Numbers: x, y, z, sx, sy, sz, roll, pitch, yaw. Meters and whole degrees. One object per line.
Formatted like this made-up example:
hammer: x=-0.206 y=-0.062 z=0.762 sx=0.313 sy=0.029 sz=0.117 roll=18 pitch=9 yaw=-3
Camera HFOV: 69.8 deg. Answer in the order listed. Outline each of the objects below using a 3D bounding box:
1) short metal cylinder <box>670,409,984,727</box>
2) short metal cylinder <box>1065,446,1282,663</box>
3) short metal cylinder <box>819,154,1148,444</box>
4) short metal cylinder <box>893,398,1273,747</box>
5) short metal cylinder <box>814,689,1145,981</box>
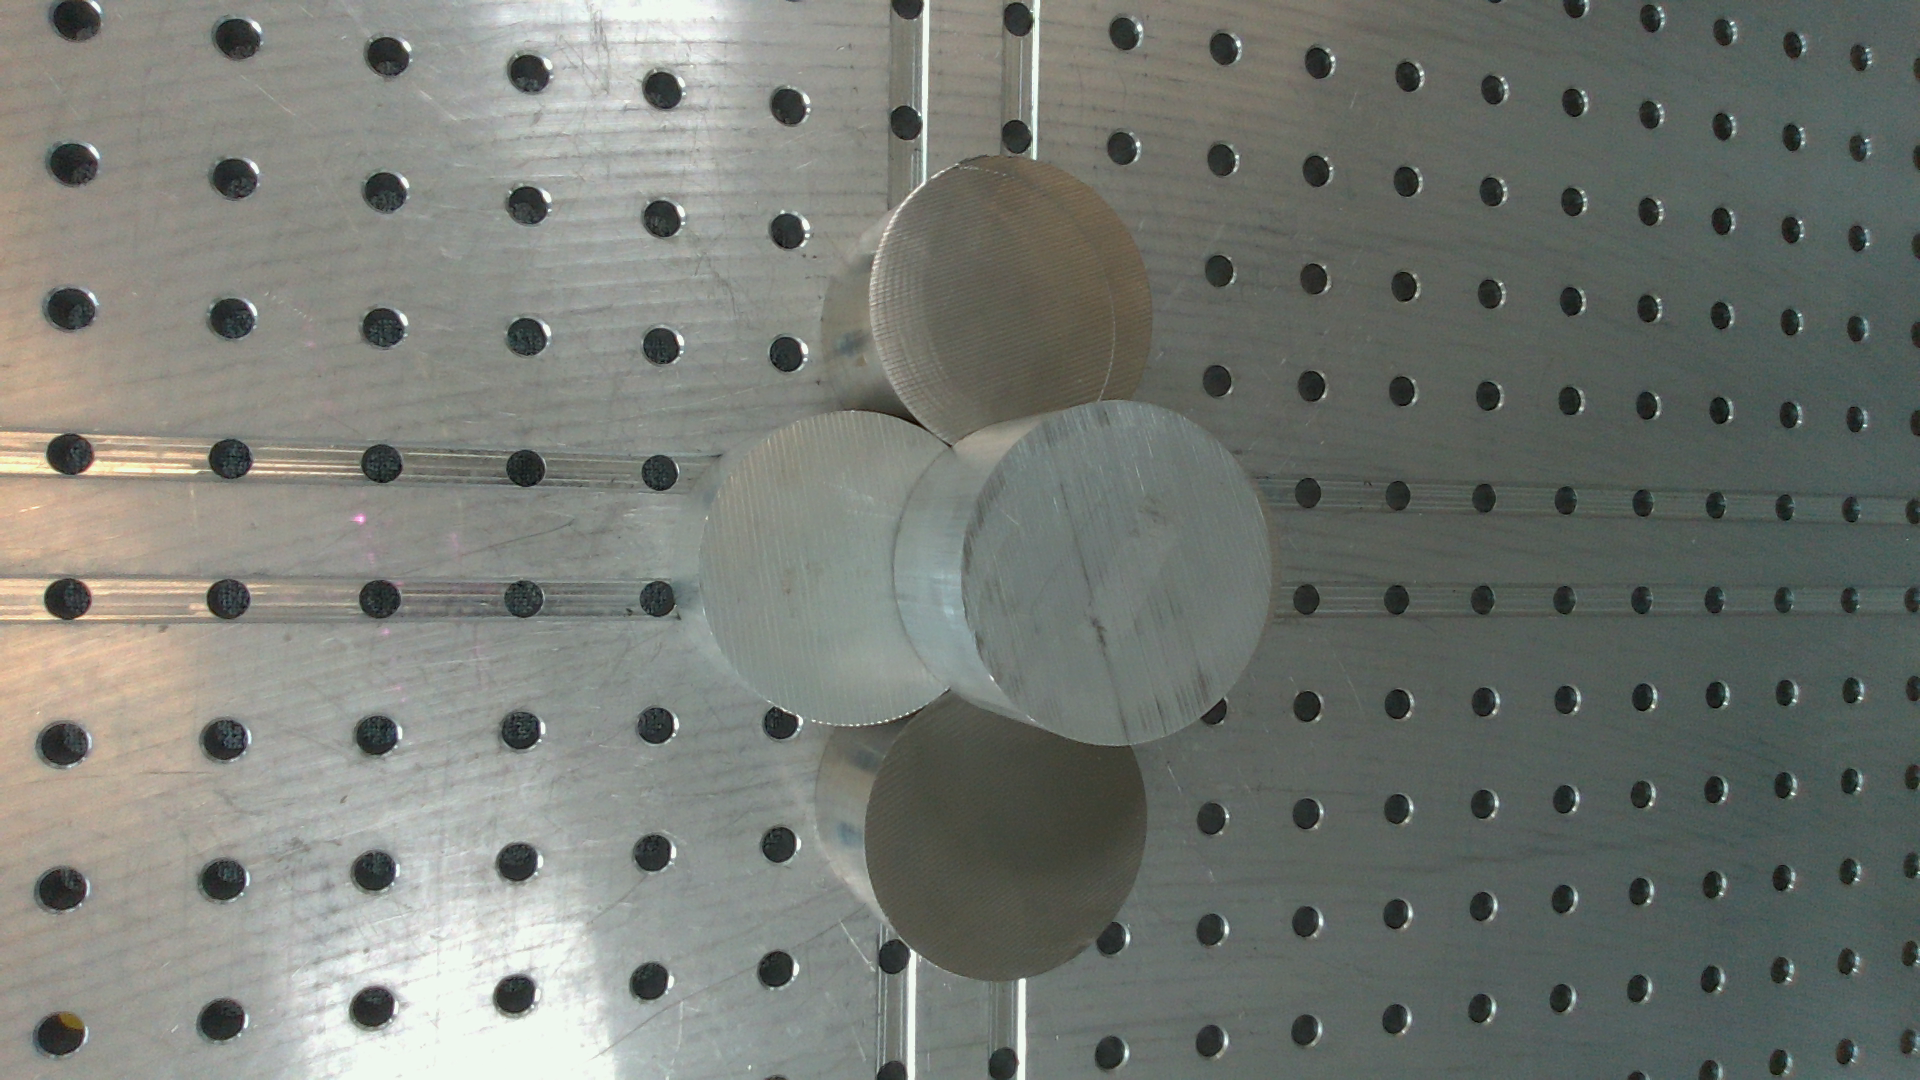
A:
short metal cylinder: x=-0.035 y=0.007 z=0.370 sx=0.080 sy=0.050 sz=0.080 roll=0 pitch=90 yaw=-20
short metal cylinder: x=0.045 y=0.007 z=0.399 sx=0.080 sy=0.050 sz=0.080 roll=0 pitch=90 yaw=-20
short metal cylinder: x=0.005 y=-0.061 z=0.384 sx=0.080 sy=0.050 sz=0.080 roll=0 pitch=90 yaw=-21
short metal cylinder: x=0.029 y=0.007 z=0.340 sx=0.080 sy=0.050 sz=0.080 roll=0 pitch=90 yaw=-20
short metal cylinder: x=0.004 y=0.076 z=0.384 sx=0.080 sy=0.050 sz=0.080 roll=1 pitch=88 yaw=-20
